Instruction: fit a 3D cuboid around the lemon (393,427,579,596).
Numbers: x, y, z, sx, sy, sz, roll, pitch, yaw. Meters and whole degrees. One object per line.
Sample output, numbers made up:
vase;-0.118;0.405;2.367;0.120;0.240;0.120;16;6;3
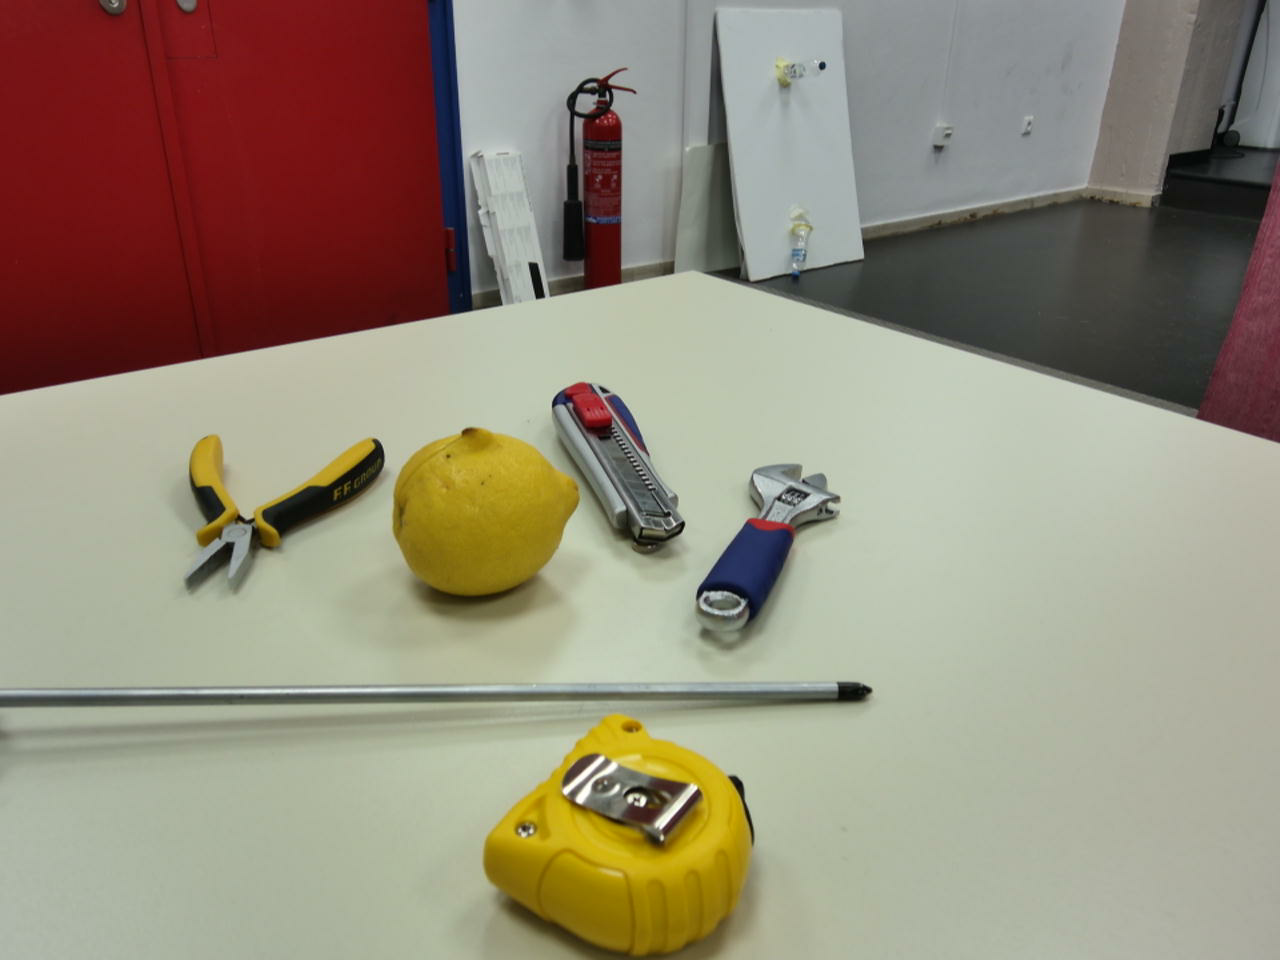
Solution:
lemon;-0.067;0.011;0.410;0.071;0.071;0.070;7;24;16
